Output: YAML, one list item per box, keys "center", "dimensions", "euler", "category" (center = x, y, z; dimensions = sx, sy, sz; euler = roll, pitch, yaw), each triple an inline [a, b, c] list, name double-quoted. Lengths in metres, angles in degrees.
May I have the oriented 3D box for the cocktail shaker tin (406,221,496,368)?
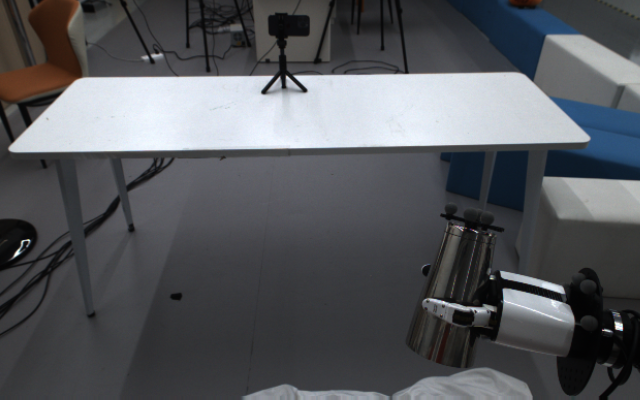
- center: [0.180, 0.119, 0.641]
  dimensions: [0.093, 0.170, 0.093]
  euler: [13, 5, -1]
  category: "cocktail shaker tin"
